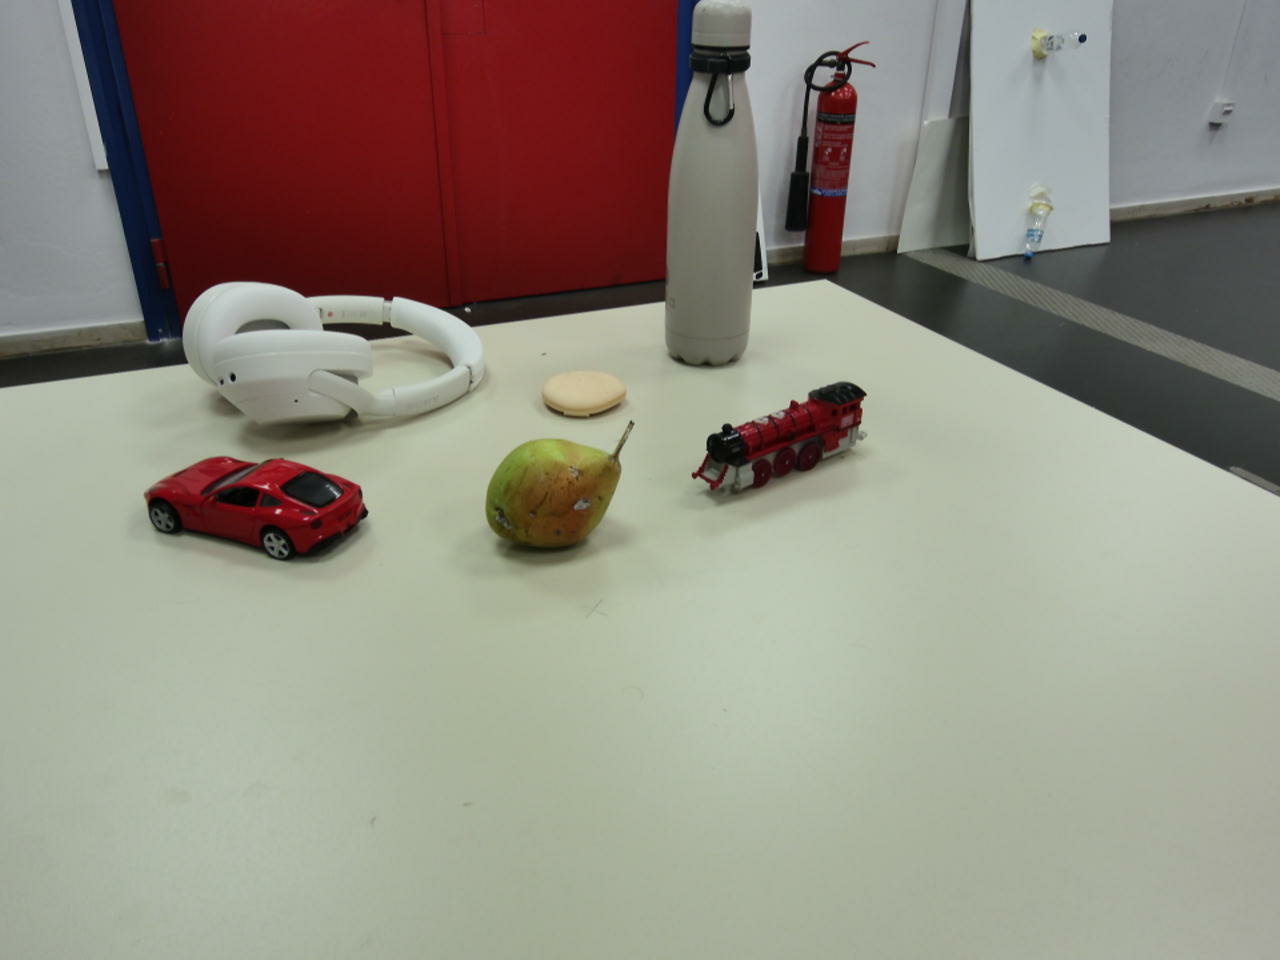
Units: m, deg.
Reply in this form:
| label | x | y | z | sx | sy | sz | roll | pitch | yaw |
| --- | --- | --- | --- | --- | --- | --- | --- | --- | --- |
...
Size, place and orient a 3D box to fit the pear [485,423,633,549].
| label | x | y | z | sx | sy | sz | roll | pitch | yaw |
| --- | --- | --- | --- | --- | --- | --- | --- | --- | --- |
| pear | -0.049 | 0.006 | 0.566 | 0.070 | 0.069 | 0.068 | 12 | 29 | 24 |
